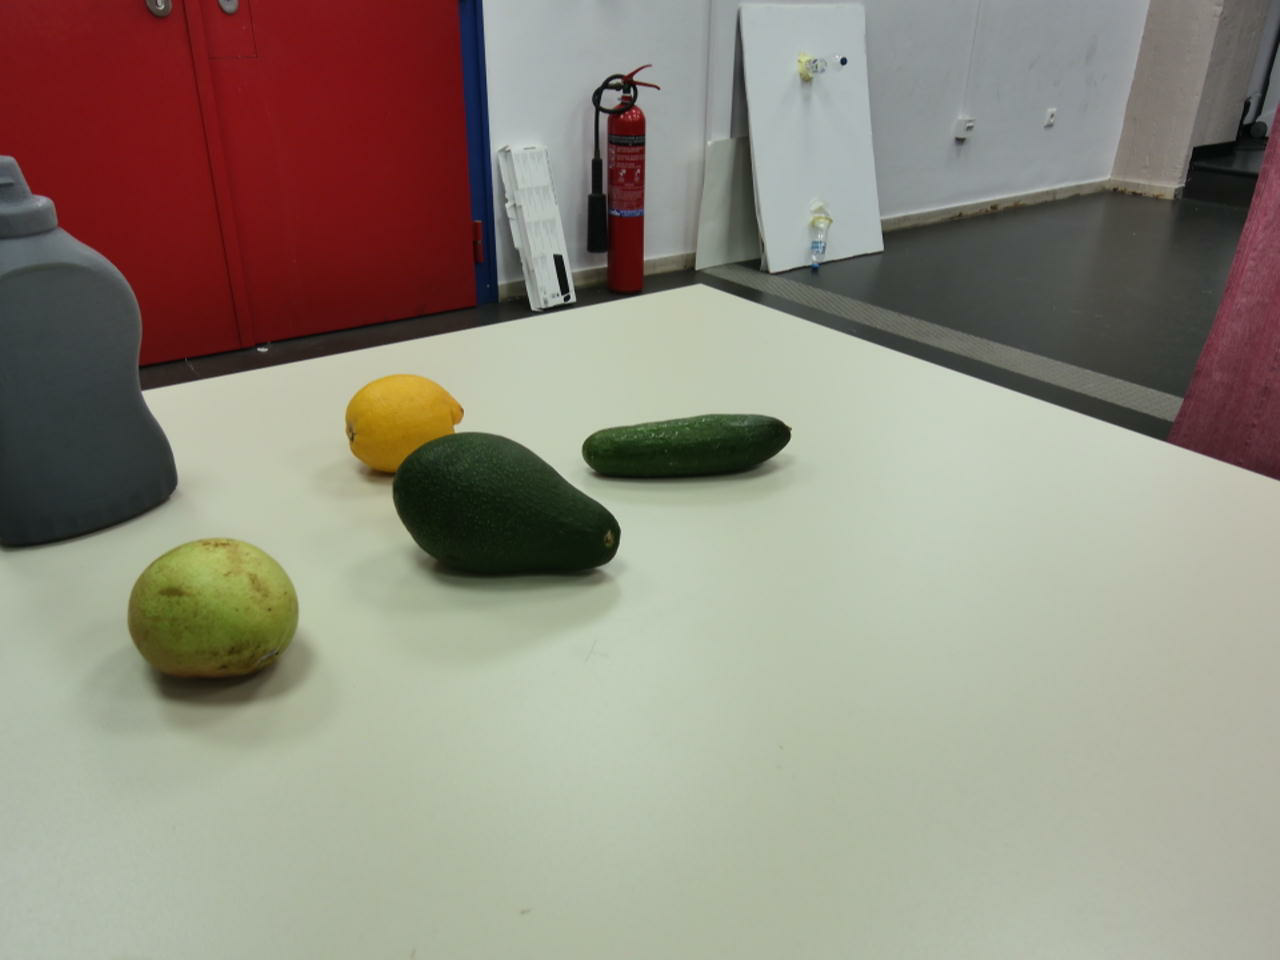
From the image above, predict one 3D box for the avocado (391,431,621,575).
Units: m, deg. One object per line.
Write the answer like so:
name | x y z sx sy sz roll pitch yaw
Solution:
avocado | -0.069 0.014 0.504 0.110 0.071 0.072 14 28 27
